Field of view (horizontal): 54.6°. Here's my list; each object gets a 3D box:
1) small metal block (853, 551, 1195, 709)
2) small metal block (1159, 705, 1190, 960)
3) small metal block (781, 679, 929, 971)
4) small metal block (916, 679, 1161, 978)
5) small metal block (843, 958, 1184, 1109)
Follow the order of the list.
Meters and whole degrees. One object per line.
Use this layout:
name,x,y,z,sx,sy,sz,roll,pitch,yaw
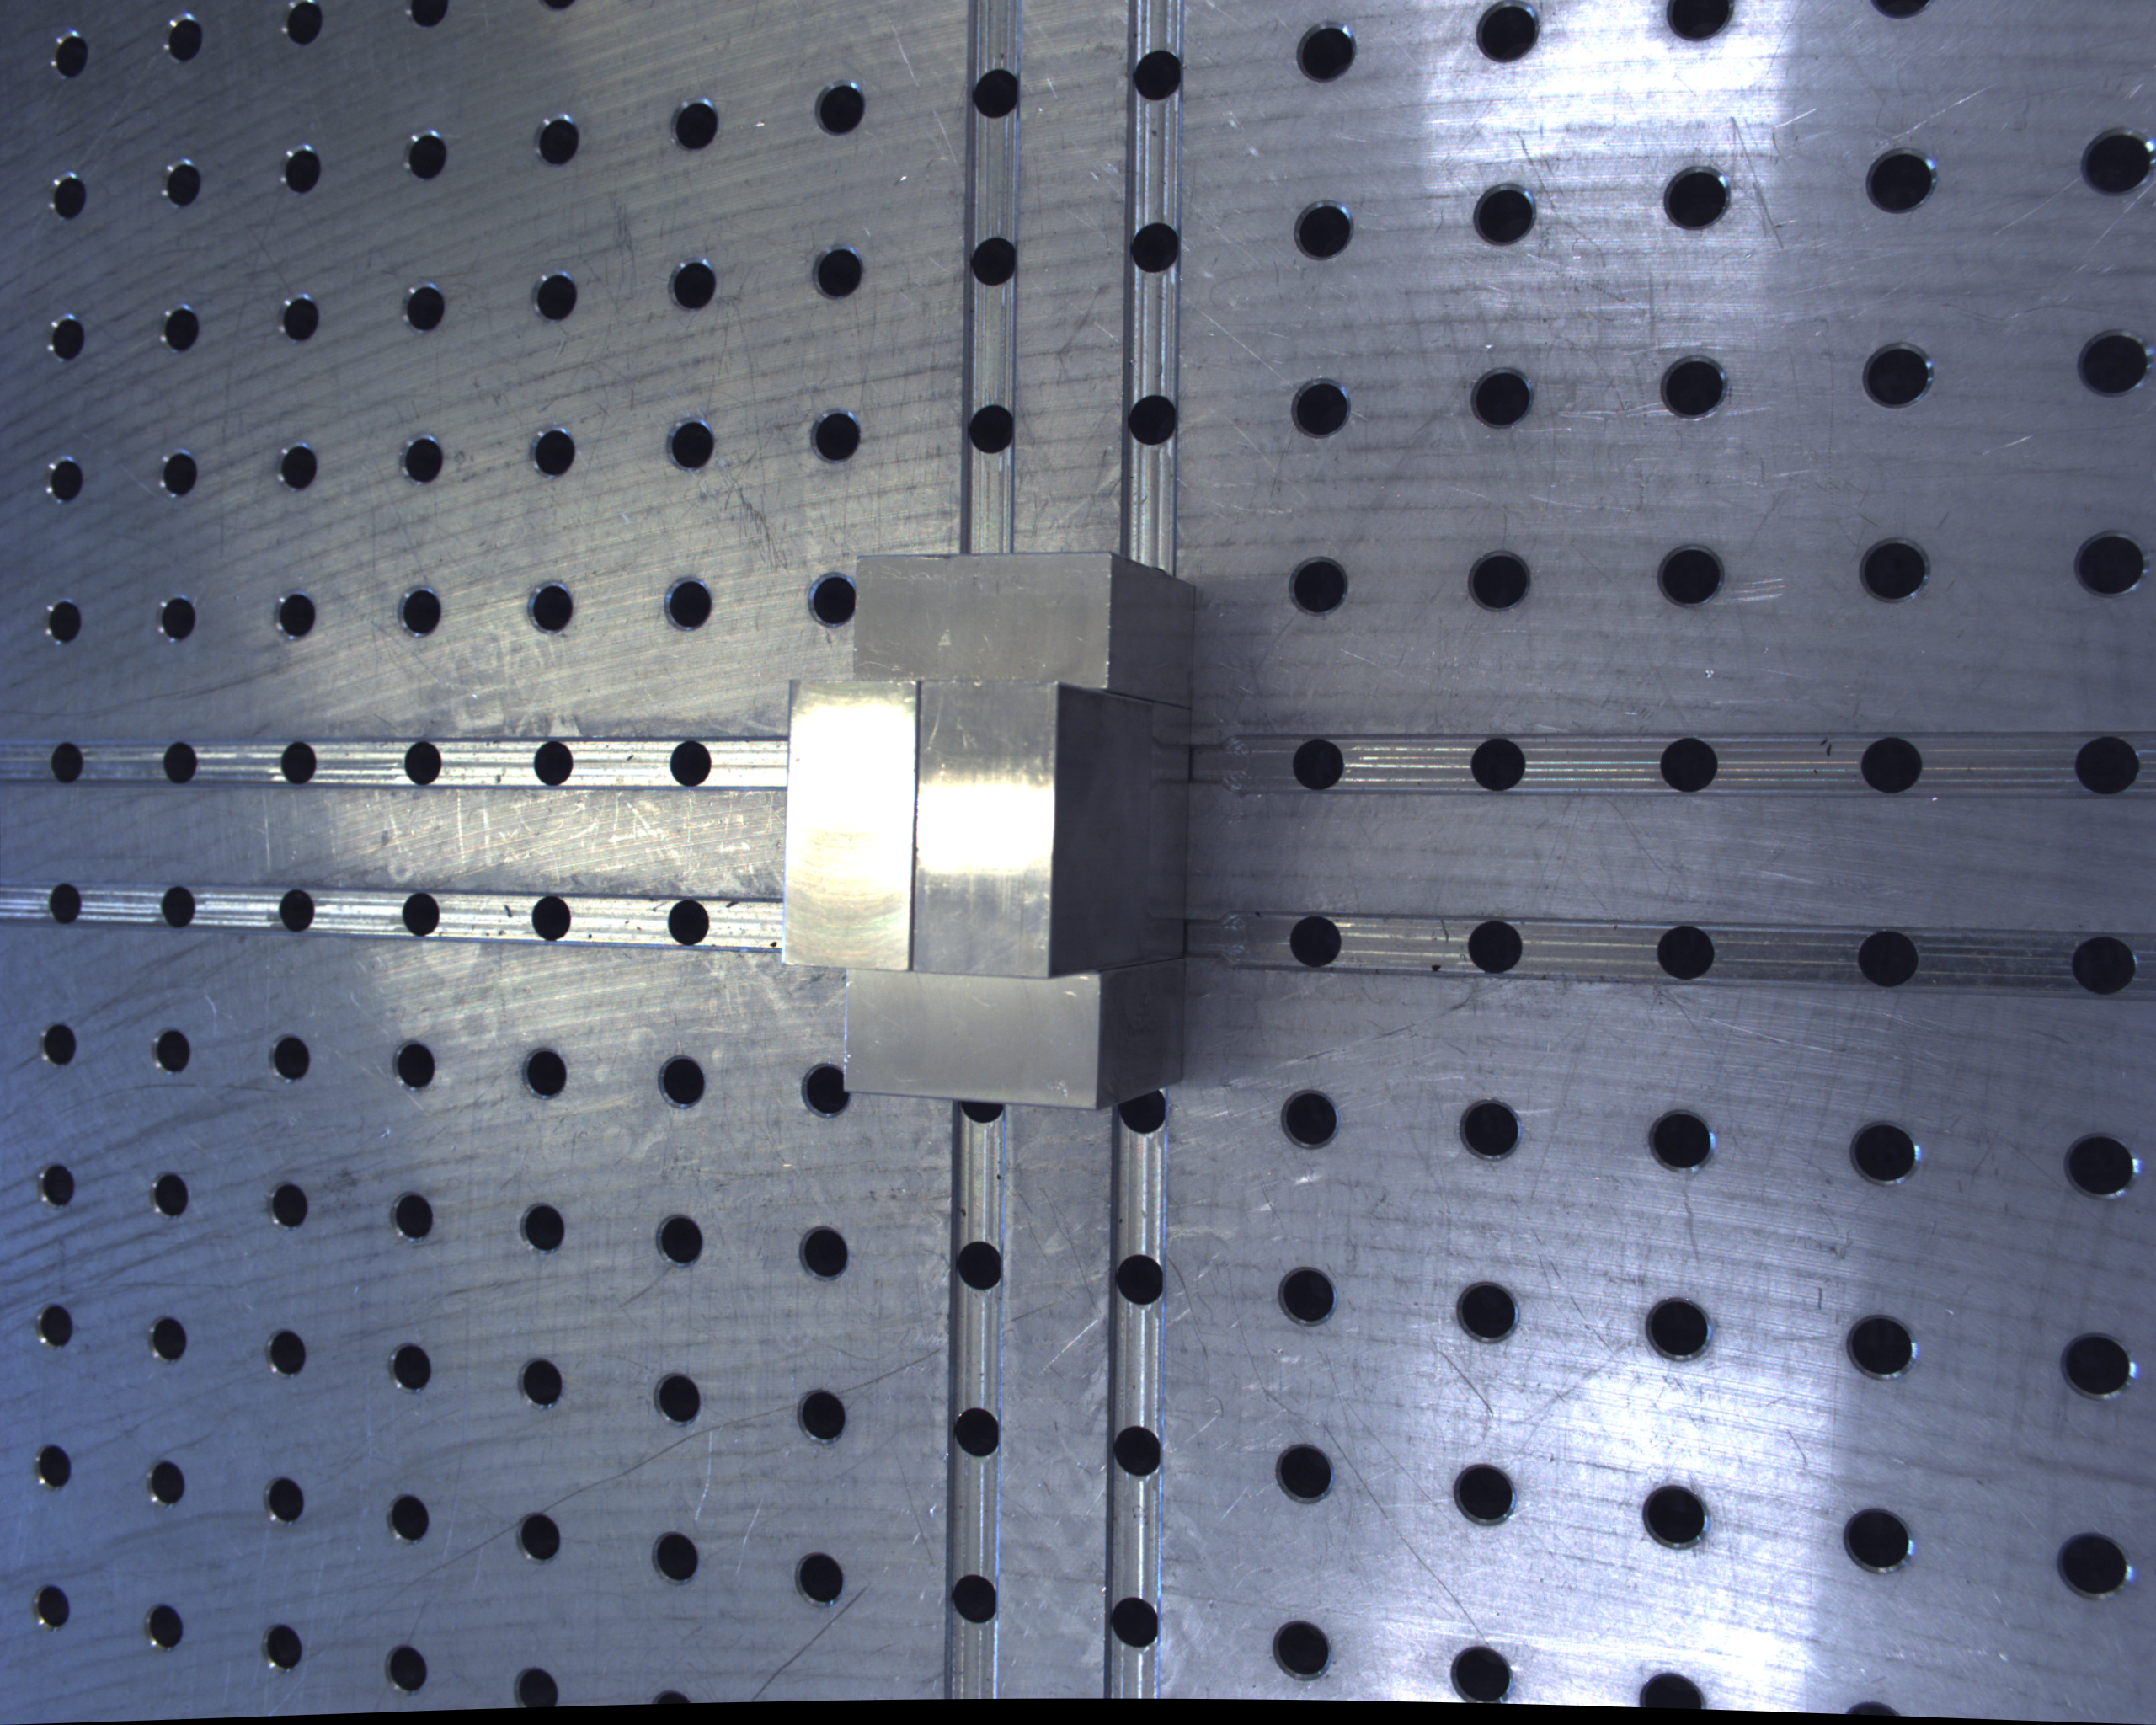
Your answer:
small metal block,-0.009,-0.044,0.402,0.050,0.050,0.025,2,91,20
small metal block,-0.006,-0.007,0.415,0.050,0.025,0.050,2,91,21
small metal block,-0.031,-0.007,0.384,0.025,0.050,0.050,2,91,20
small metal block,-0.006,-0.006,0.375,0.025,0.050,0.050,2,91,21
small metal block,-0.011,0.031,0.403,0.050,0.050,0.025,2,91,20
